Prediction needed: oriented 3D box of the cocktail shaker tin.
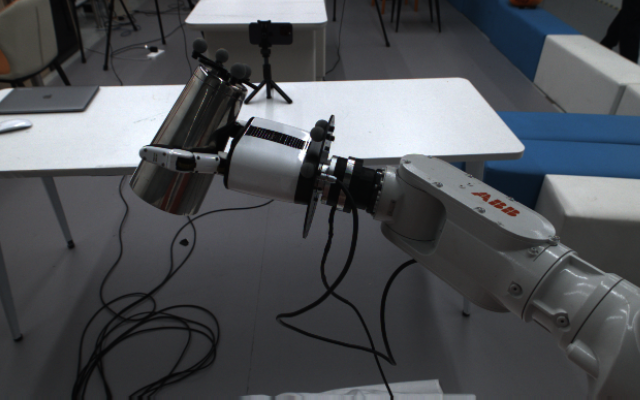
[{"bbox_3d":[-0.157,-0.078,0.600,0.093,0.170,0.093,28,14,-7],"label":"cocktail shaker tin"}]
